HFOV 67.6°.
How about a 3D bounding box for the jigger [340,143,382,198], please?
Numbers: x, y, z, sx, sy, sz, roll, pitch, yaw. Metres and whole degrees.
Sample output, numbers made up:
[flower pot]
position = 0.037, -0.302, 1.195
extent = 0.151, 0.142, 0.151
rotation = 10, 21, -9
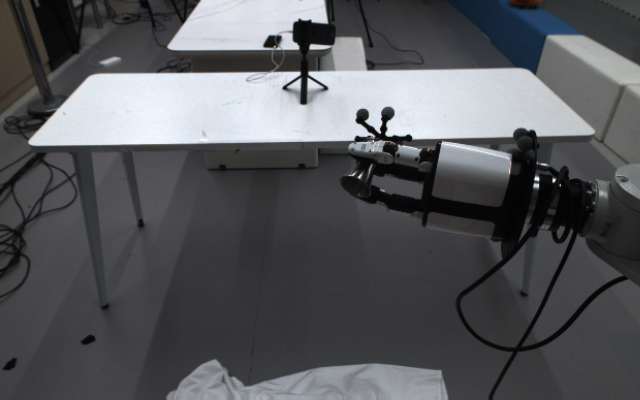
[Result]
[jigger]
position = 0.058, -0.046, 0.619
extent = 0.043, 0.043, 0.071
rotation = 19, 61, 23
